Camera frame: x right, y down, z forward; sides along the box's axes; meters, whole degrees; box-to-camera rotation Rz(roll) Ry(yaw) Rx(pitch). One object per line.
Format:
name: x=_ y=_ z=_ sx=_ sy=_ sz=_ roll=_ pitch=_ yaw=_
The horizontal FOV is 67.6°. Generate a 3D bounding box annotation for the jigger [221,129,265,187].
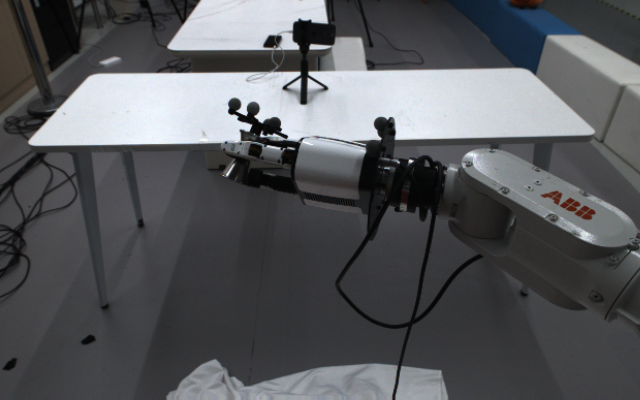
jigger: x=-0.104 y=-0.058 z=0.655 sx=0.043 sy=0.071 sz=0.043 roll=24 pitch=-2 yaw=1
